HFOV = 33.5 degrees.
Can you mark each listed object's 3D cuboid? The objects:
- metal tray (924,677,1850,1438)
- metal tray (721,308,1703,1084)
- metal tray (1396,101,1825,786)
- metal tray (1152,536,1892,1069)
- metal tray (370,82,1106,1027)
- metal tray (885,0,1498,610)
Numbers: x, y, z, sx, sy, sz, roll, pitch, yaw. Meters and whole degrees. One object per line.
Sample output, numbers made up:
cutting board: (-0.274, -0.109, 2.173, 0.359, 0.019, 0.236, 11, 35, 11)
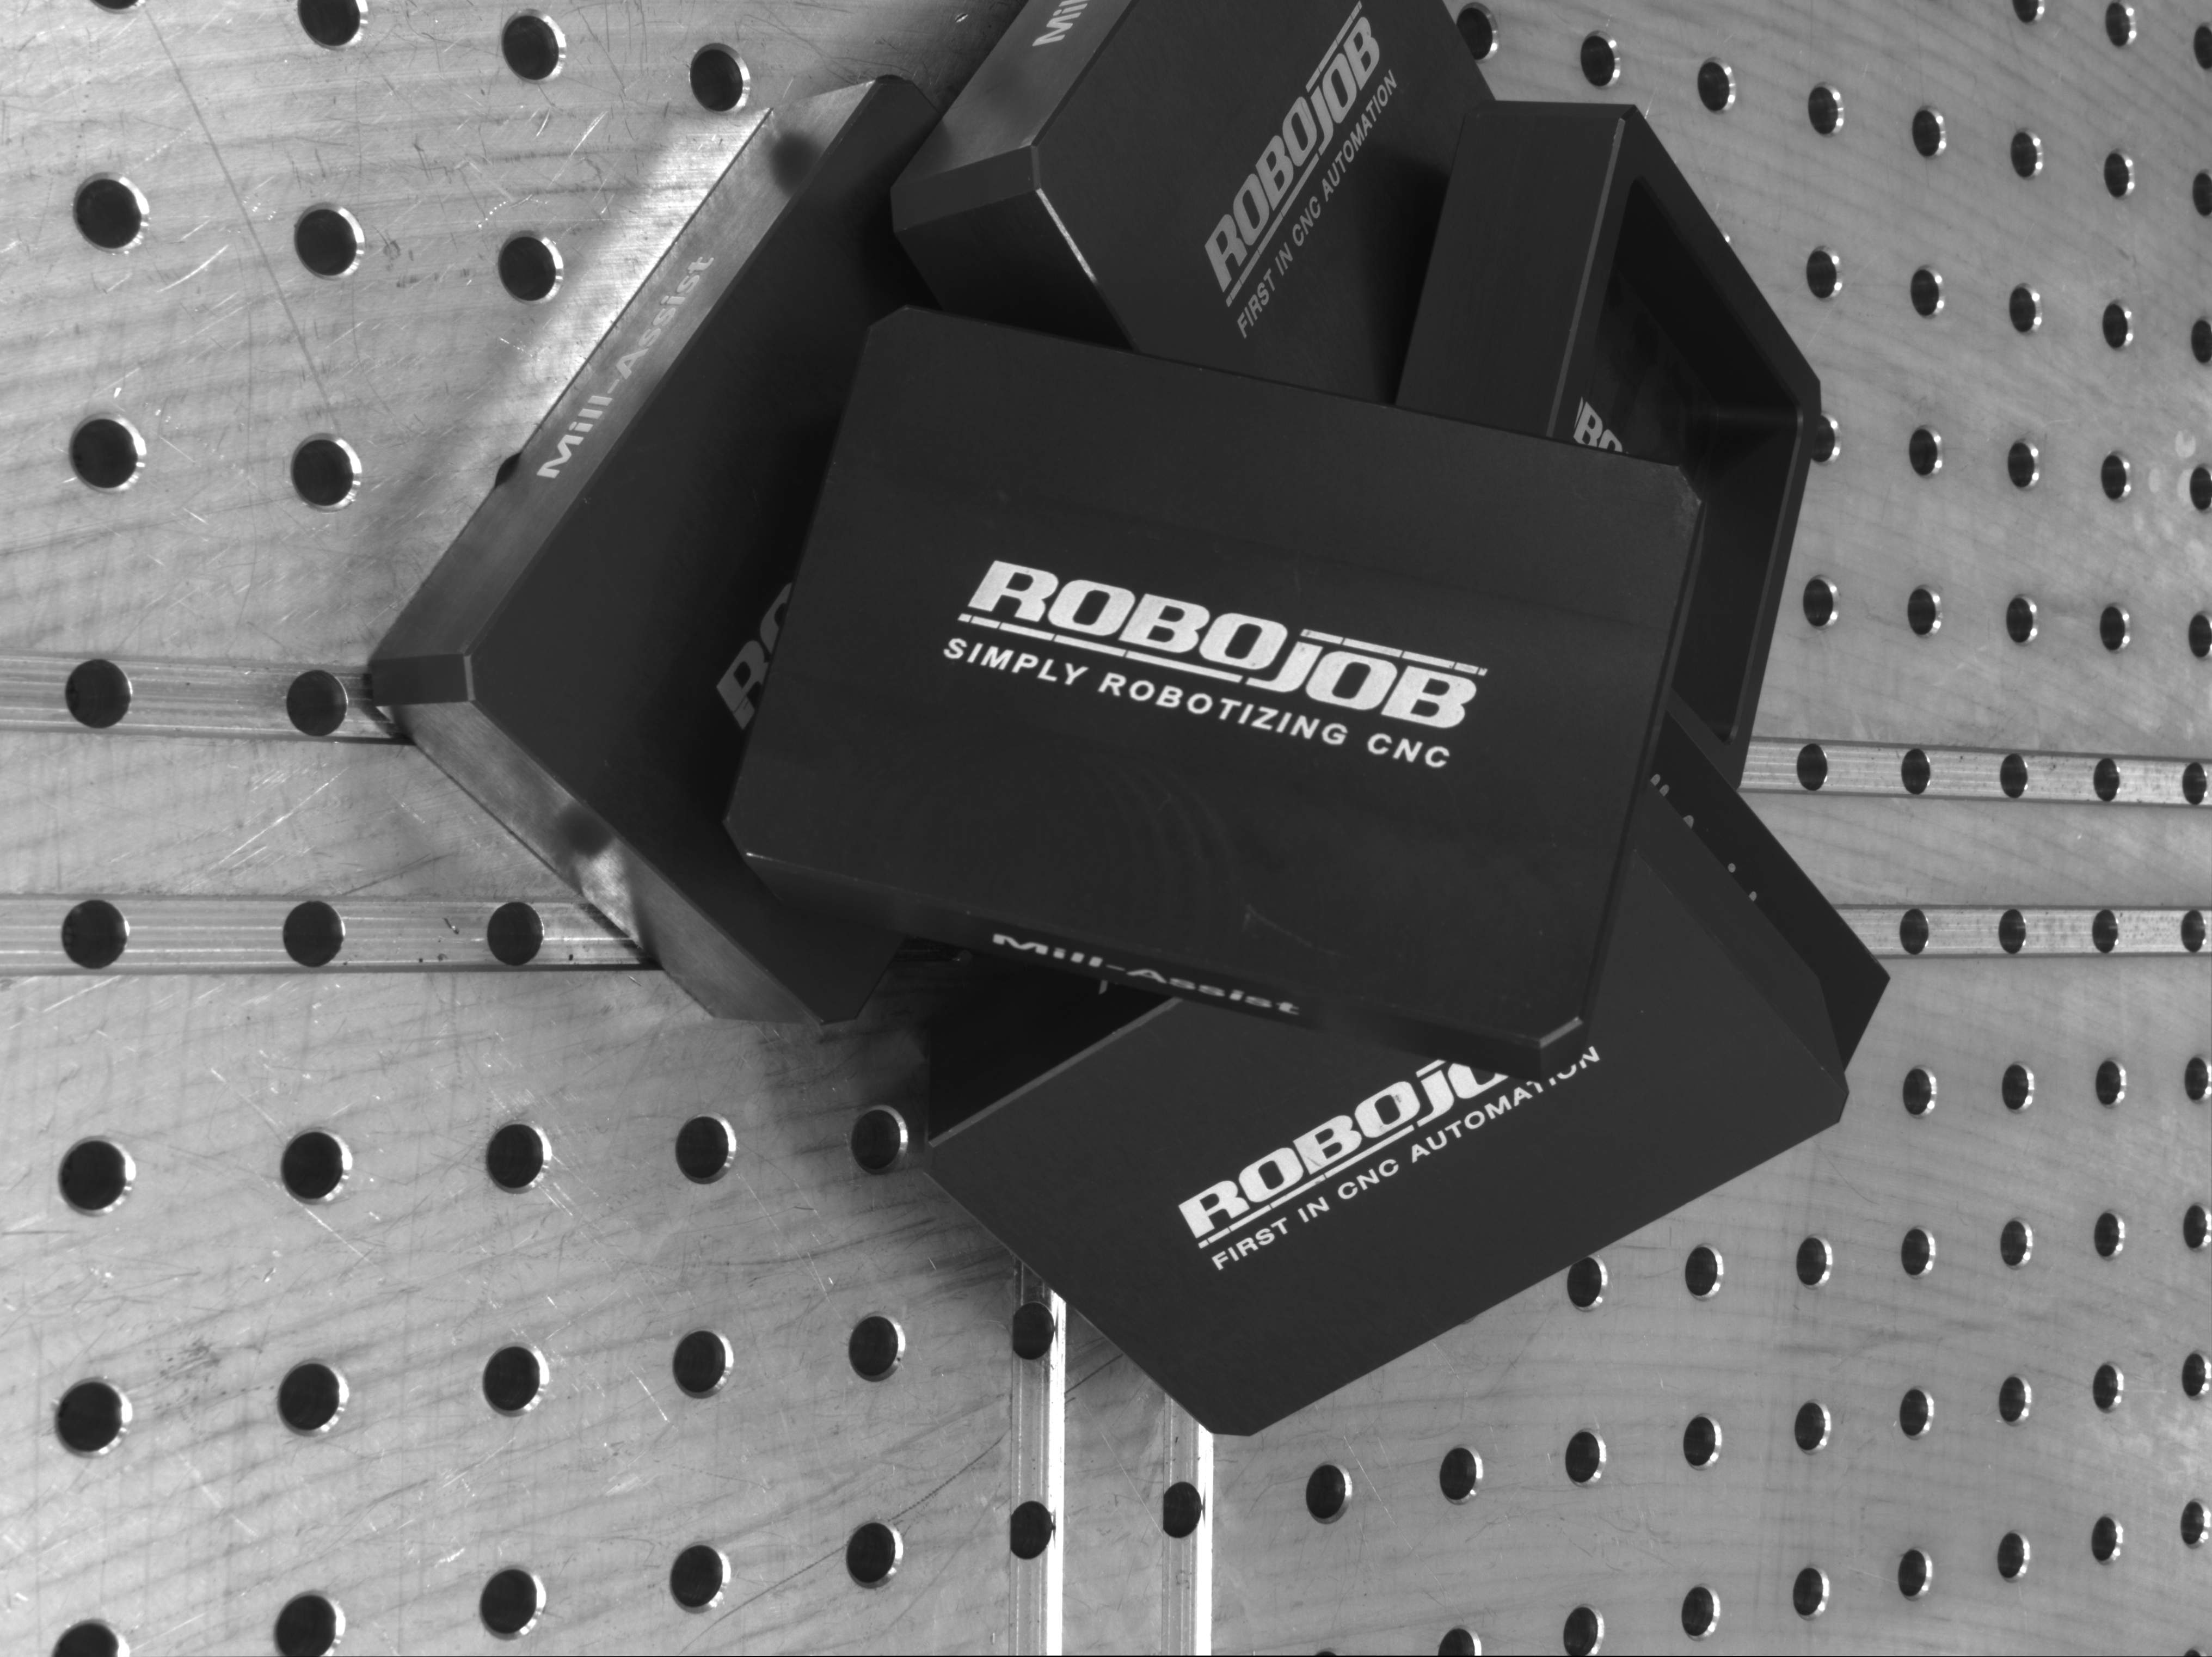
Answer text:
metal tray: (0.046, 0.041, 0.615, 0.090, 0.130, 0.030, 46, 24, -30)
metal tray: (0.017, -0.021, 0.556, 0.030, 0.130, 0.090, 66, 38, -74)
metal tray: (0.094, -0.066, 0.683, 0.130, 0.030, 0.090, 34, 68, -59)
metal tray: (0.068, 0.001, 0.653, 0.130, 0.090, 0.030, 46, 62, -30)
metal tray: (-0.048, -0.044, 0.596, 0.090, 0.030, 0.130, 47, 62, -31)
metal tray: (0.021, -0.111, 0.630, 0.090, 0.030, 0.130, 56, 44, -29)
